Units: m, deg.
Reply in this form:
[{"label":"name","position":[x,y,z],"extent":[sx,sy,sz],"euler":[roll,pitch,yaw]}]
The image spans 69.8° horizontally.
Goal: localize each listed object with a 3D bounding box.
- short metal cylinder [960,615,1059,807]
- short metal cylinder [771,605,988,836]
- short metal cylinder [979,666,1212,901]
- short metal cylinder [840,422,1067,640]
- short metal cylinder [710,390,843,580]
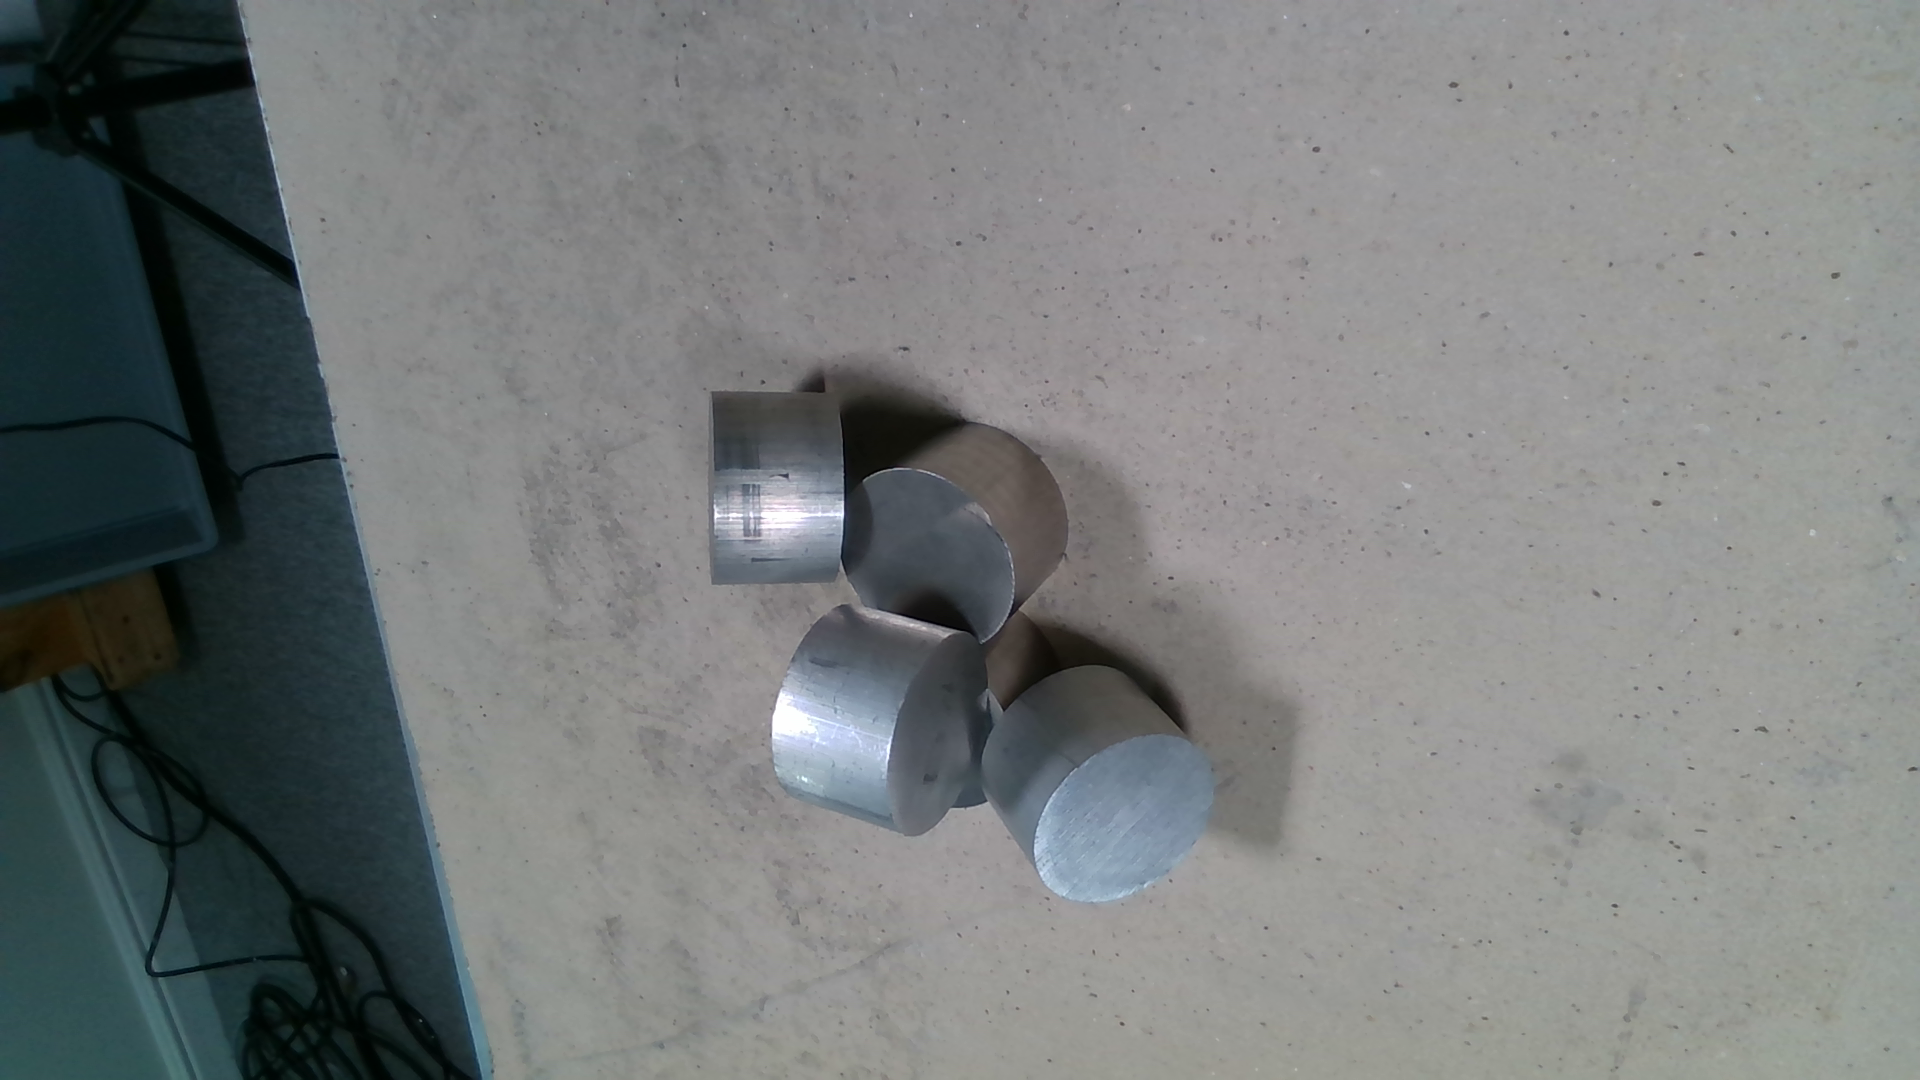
[{"label":"short metal cylinder","position":[-0.002,0.069,0.602],"extent":[0.080,0.050,0.080],"euler":[14,122,25]},{"label":"short metal cylinder","position":[-0.030,0.069,0.536],"extent":[0.050,0.080,0.080],"euler":[13,121,26]},{"label":"short metal cylinder","position":[0.054,0.098,0.556],"extent":[0.050,0.080,0.080],"euler":[-132,36,-53]},{"label":"short metal cylinder","position":[-0.003,-0.002,0.564],"extent":[0.080,0.050,0.080],"euler":[14,122,25]},{"label":"short metal cylinder","position":[-0.079,-0.022,0.572],"extent":[0.050,0.080,0.080],"euler":[0,123,-12]}]
